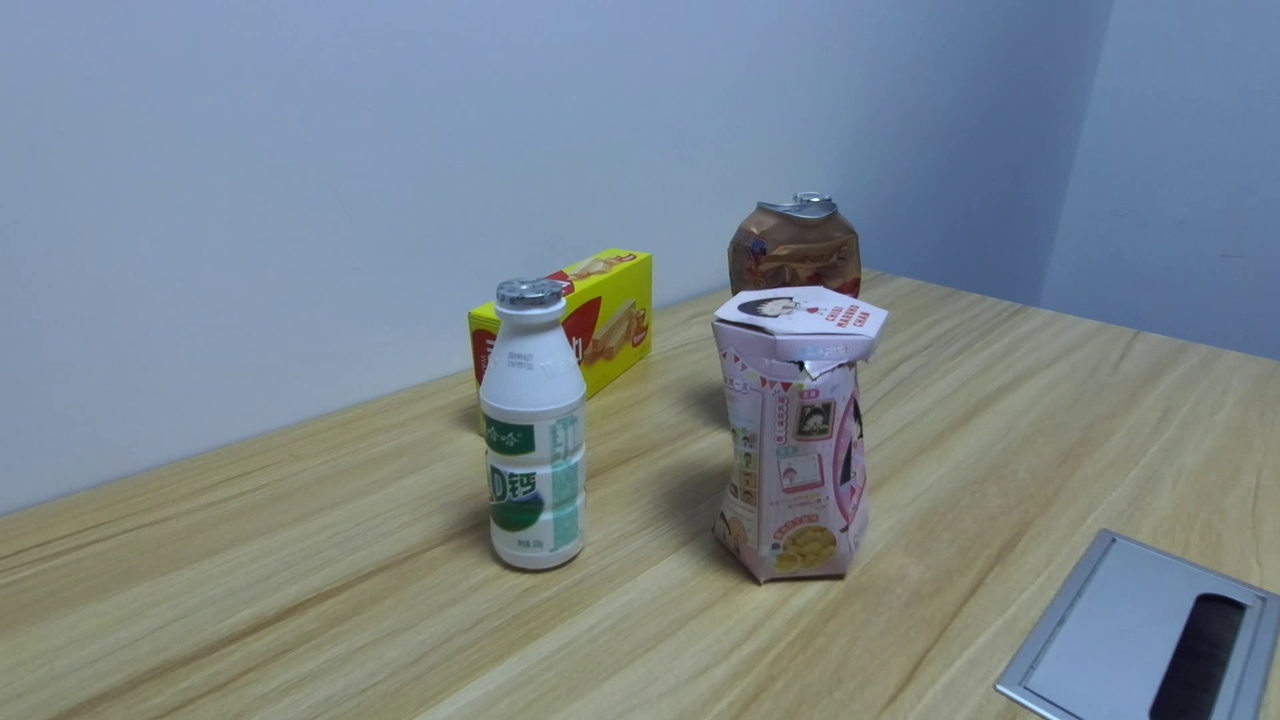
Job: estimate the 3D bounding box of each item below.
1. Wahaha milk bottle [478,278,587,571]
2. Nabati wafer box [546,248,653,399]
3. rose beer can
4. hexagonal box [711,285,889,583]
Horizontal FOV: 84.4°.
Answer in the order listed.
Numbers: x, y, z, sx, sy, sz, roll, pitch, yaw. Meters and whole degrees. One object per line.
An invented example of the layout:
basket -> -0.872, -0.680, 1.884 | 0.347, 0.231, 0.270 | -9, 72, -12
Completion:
Wahaha milk bottle -> -0.053, 0.034, 0.358 | 0.053, 0.147, 0.053 | 0, 22, 0
Nabati wafer box -> -0.049, -0.019, 0.553 | 0.042, 0.093, 0.203 | 11, 25, 25
rose beer can -> 0.102, -0.025, 0.480 | 0.074, 0.162, 0.067 | -16, 26, -40
hexagonal box -> 0.079, 0.037, 0.371 | 0.091, 0.134, 0.090 | -10, 22, -20
